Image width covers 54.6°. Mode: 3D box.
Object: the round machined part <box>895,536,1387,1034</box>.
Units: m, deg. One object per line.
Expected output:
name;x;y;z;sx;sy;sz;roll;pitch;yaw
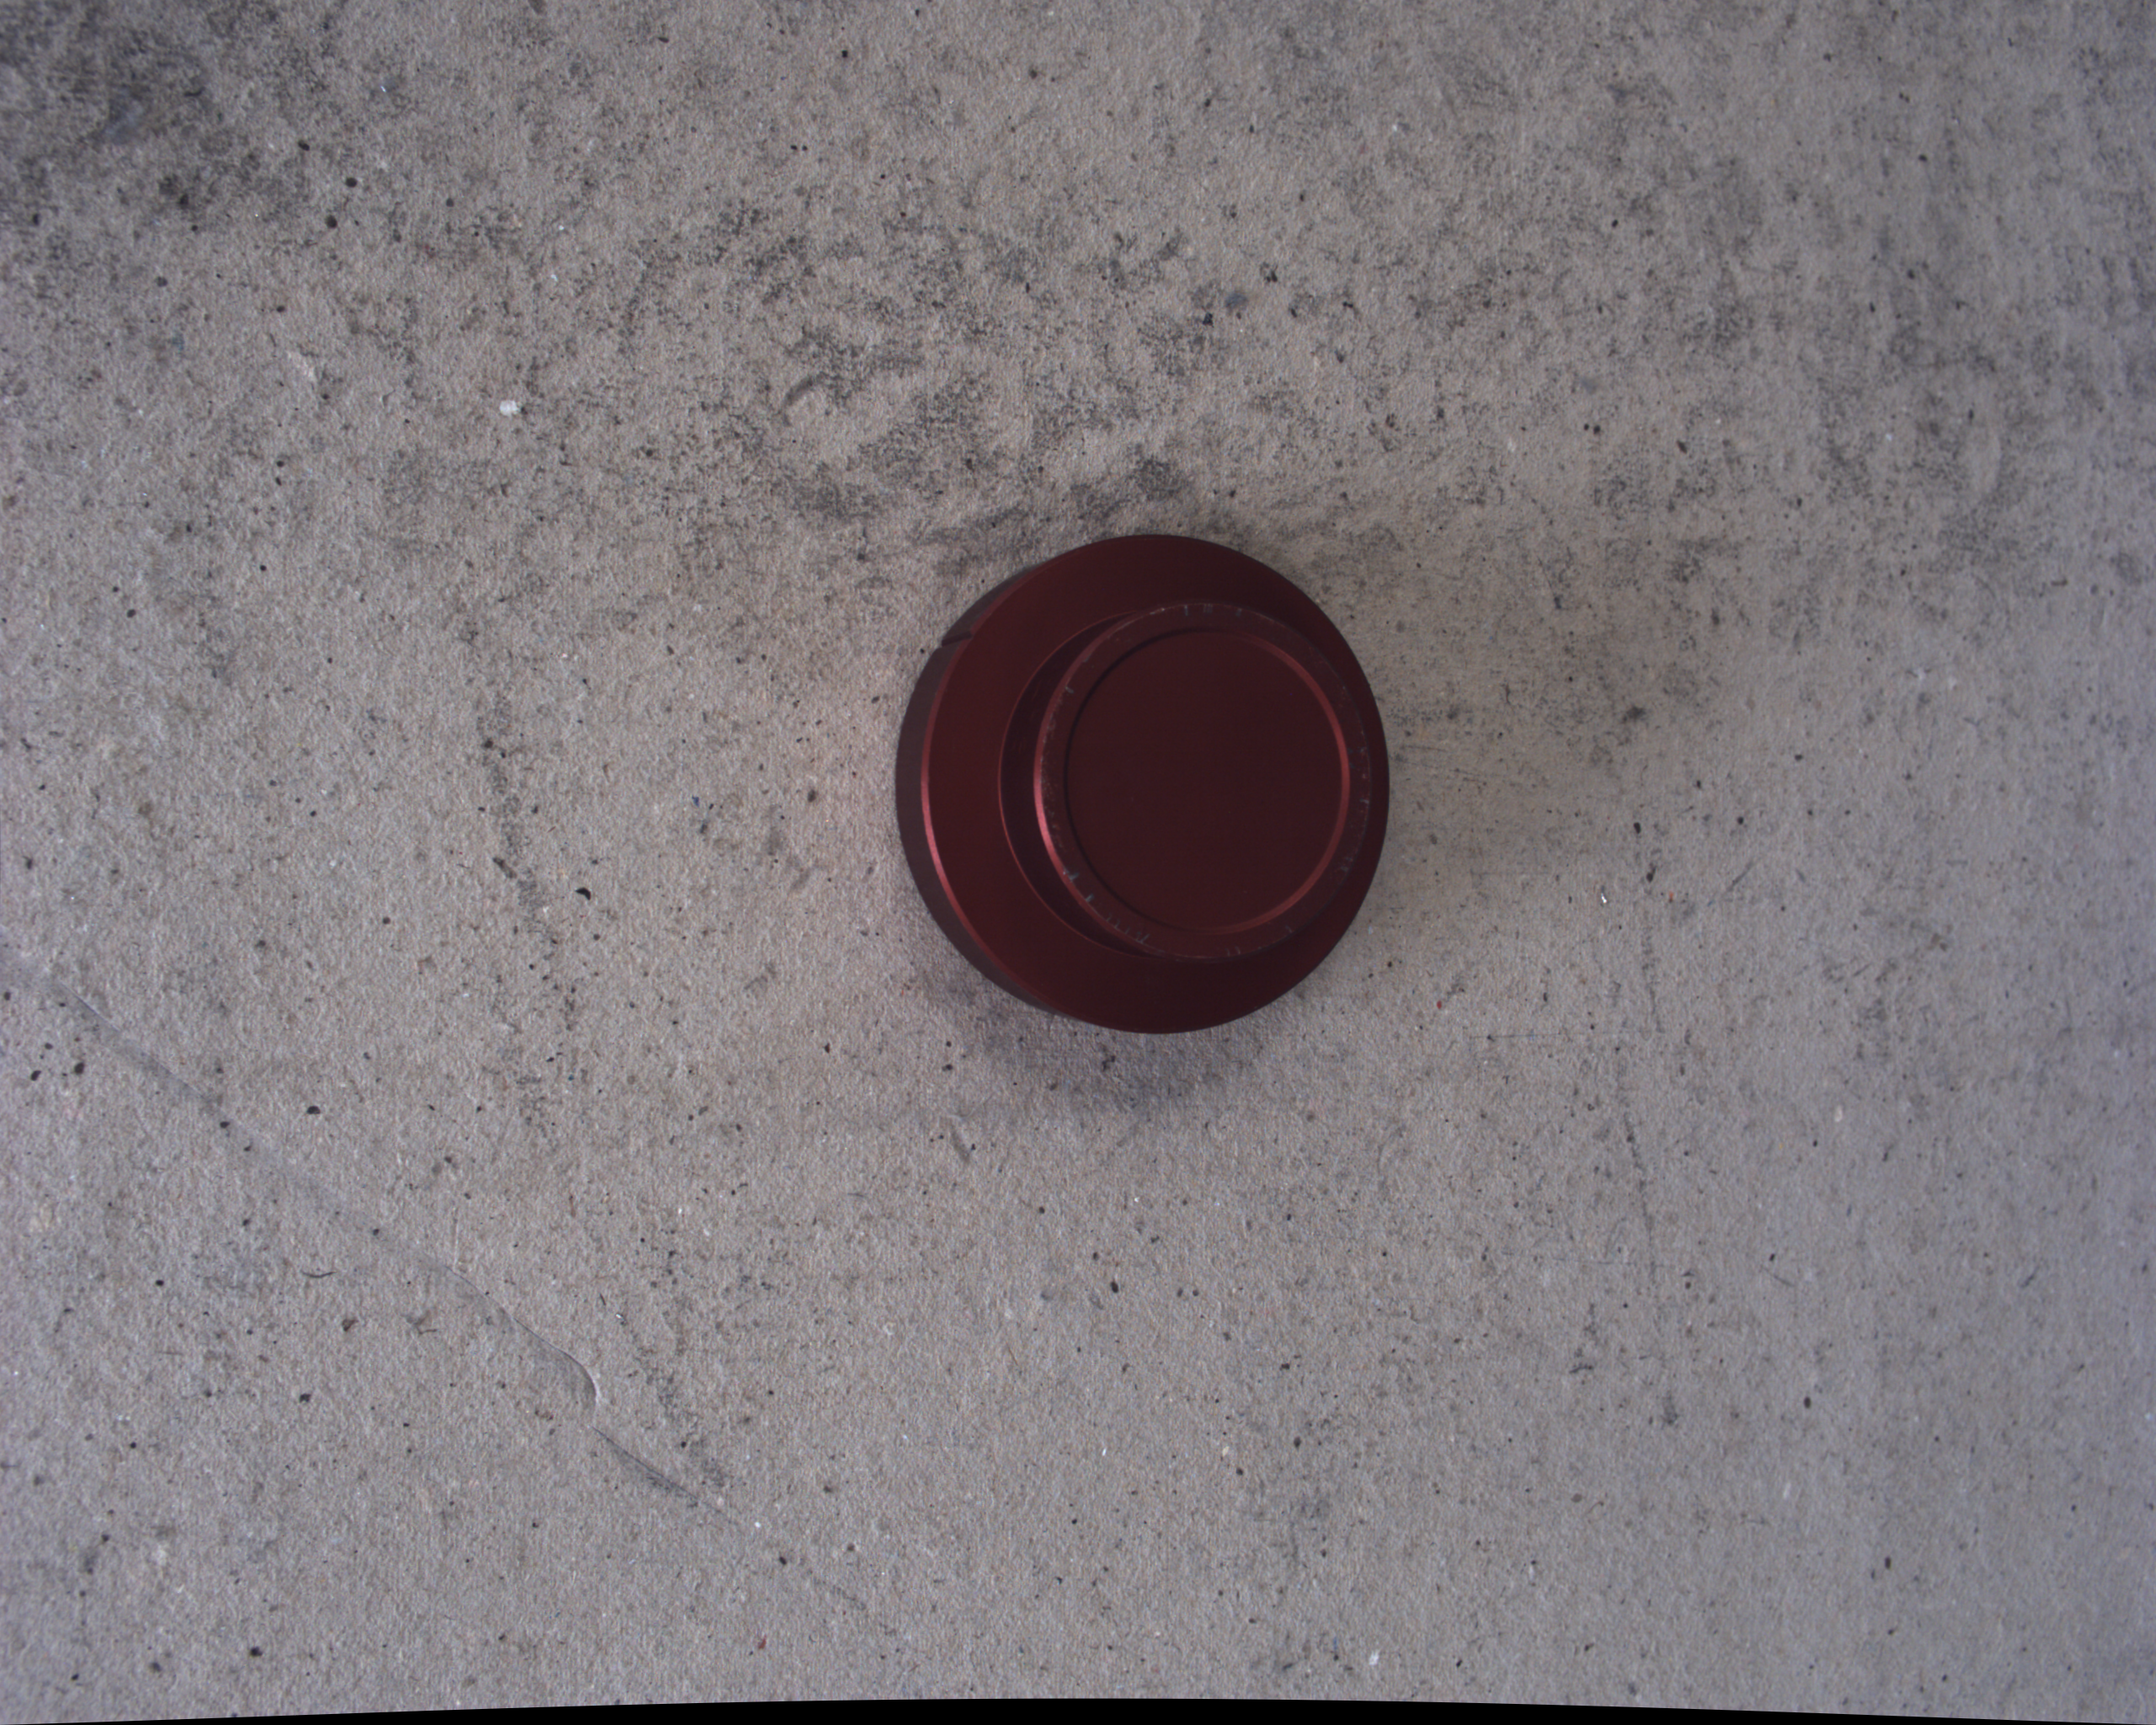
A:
round machined part;0.017;-0.015;0.407;0.099;0.042;0.097;0;90;-20
